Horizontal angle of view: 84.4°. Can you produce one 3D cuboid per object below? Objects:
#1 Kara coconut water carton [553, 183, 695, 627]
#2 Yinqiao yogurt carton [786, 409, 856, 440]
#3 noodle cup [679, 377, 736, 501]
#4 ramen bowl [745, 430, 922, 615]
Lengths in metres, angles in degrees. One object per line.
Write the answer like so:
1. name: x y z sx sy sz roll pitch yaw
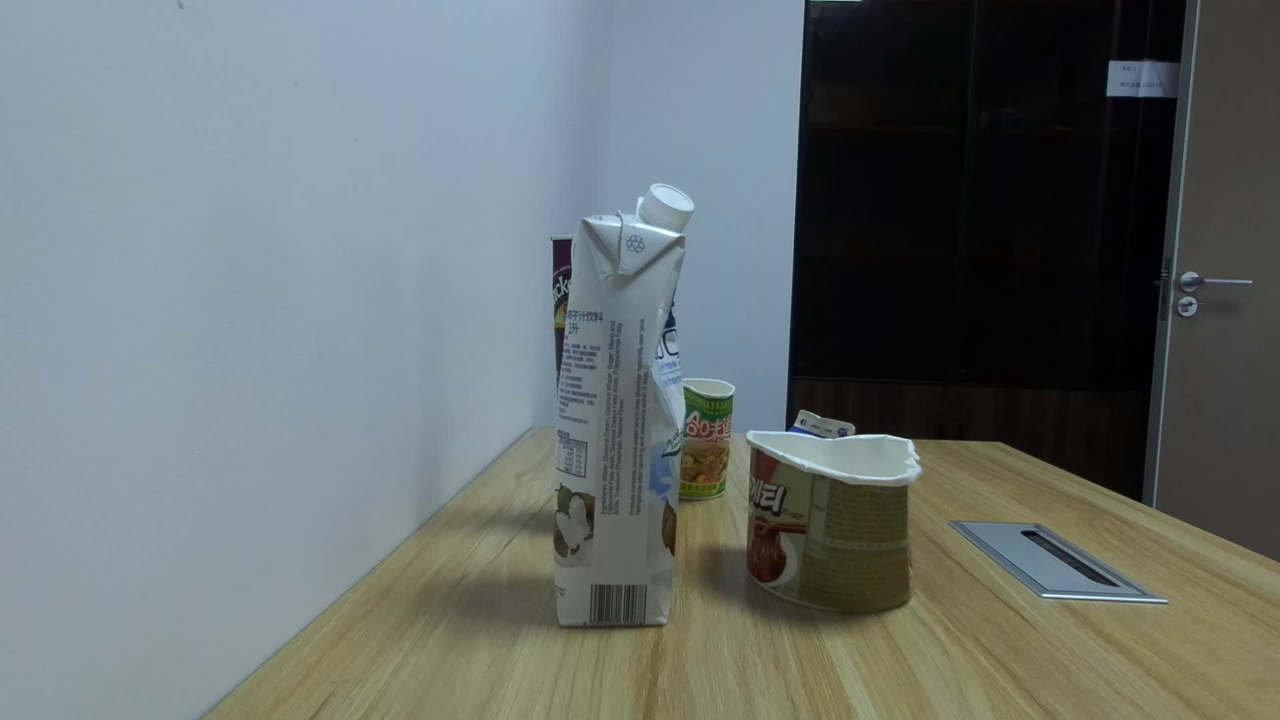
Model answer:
1. Kara coconut water carton: -0.010 0.024 0.421 0.078 0.255 0.083 4 6 9
2. Yinqiao yogurt carton: 0.161 0.094 0.618 0.074 0.091 0.075 -3 6 -30
3. noodle cup: 0.051 0.075 0.688 0.070 0.111 0.115 1 5 -2
4. ramen bowl: 0.128 0.102 0.466 0.113 0.097 0.134 3 4 5
